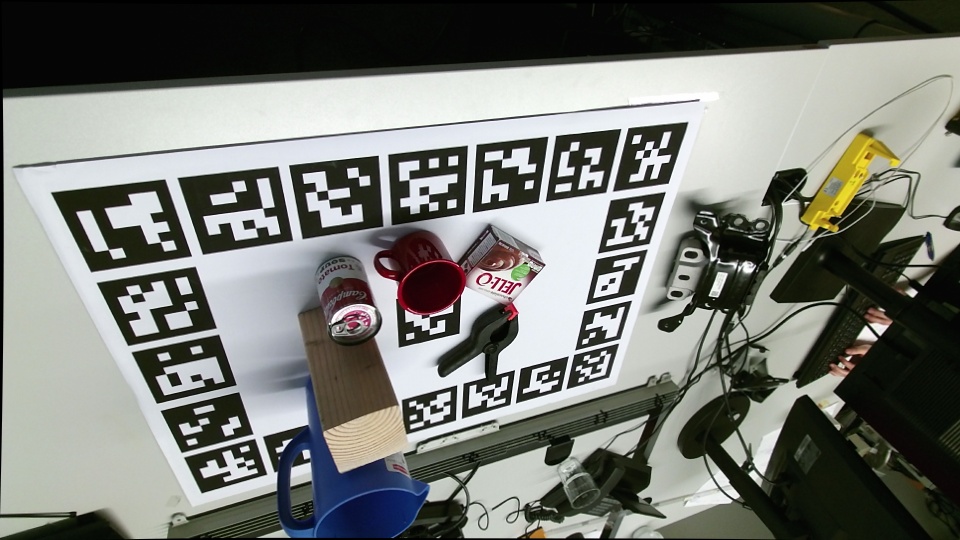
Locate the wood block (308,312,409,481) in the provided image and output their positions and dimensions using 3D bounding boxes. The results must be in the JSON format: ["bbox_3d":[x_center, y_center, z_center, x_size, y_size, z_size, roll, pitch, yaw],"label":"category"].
[{"bbox_3d":[-0.162,0.148,0.695,0.090,0.205,0.091,-12,130,-14],"label":"wood block"}]

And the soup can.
[{"bbox_3d":[-0.161,0.044,0.684,0.068,0.101,0.068,-14,128,-18],"label":"soup can"}]

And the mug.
[{"bbox_3d":[-0.078,0.004,0.711,0.117,0.081,0.093,23,115,-39],"label":"mug"}]

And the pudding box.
[{"bbox_3d":[0.043,0.001,0.803,0.114,0.038,0.090,25,108,-39],"label":"pudding box"}]

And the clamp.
[{"bbox_3d":[0.013,0.131,0.897,0.122,0.036,0.165,19,115,-29],"label":"clamp"}]

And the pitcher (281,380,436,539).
[{"bbox_3d":[-0.184,0.259,0.749,0.189,0.241,0.133,-14,132,-21],"label":"pitcher"}]
